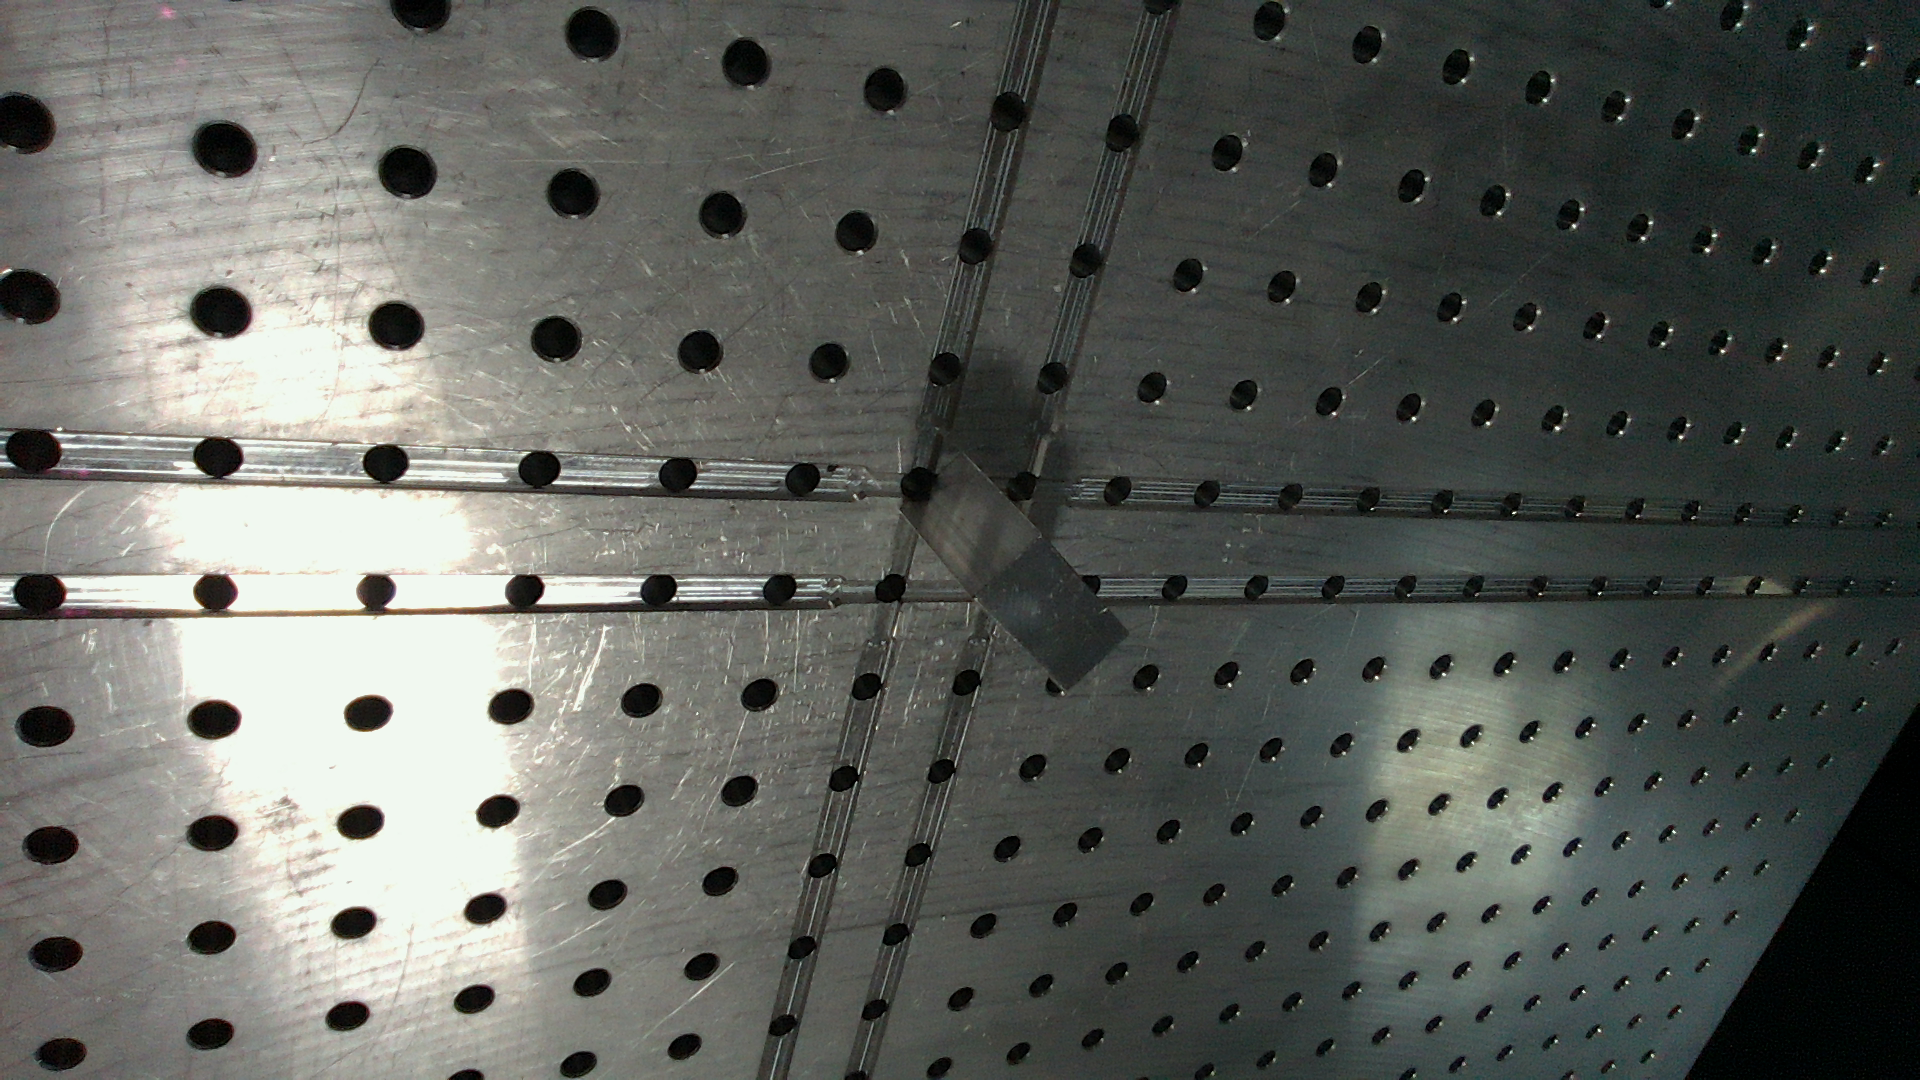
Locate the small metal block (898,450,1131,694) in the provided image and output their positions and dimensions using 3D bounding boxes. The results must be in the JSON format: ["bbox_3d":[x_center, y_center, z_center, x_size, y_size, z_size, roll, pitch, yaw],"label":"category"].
[{"bbox_3d":[0.015,0.009,0.389,0.025,0.050,0.050,-42,129,1],"label":"small metal block"}]
